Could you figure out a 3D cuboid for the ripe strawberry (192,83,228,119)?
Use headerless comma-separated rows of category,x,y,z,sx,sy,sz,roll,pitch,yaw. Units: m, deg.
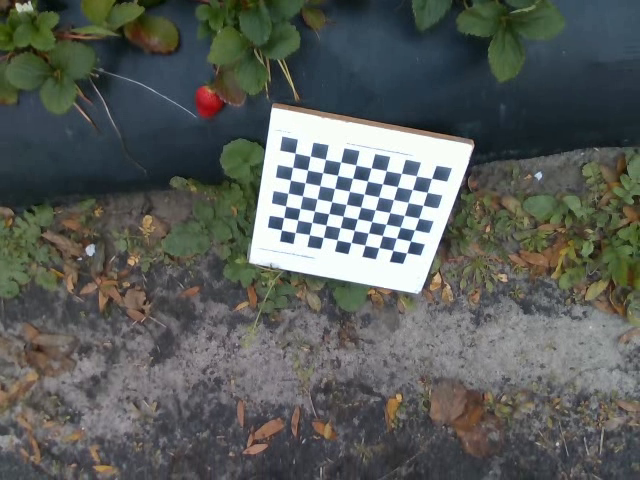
ripe strawberry,-0.107,-0.130,0.612,0.028,0.033,0.023,26,29,-6
